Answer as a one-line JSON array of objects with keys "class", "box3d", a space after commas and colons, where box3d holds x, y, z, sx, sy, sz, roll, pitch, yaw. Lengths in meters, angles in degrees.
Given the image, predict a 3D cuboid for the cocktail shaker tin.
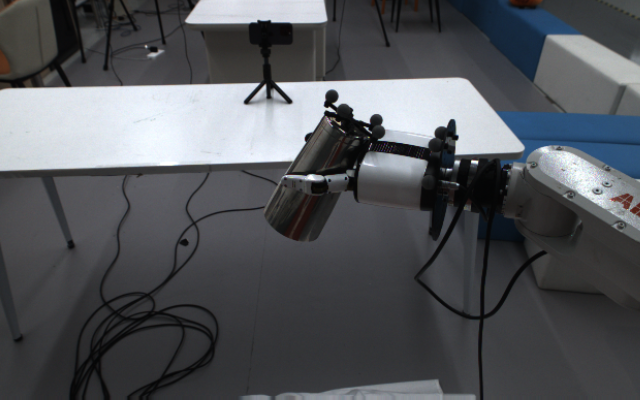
[{"class": "cocktail shaker tin", "box3d": [-0.002, -0.038, 0.682, 0.093, 0.170, 0.093, 25, 29, -15]}]
